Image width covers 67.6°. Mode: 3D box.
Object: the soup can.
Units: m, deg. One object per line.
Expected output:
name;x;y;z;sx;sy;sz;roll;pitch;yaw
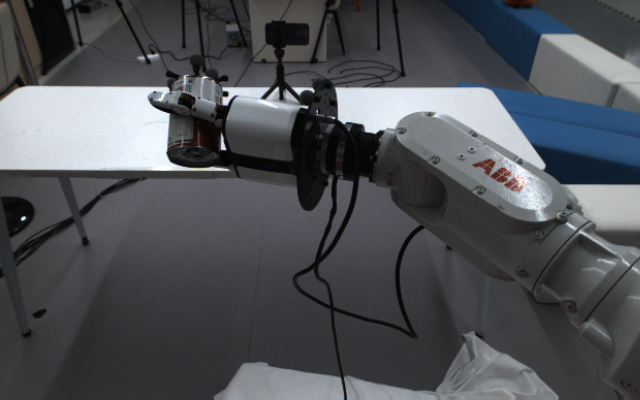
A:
soup can;-0.159;-0.100;0.624;0.067;0.067;0.101;-2;72;-5
